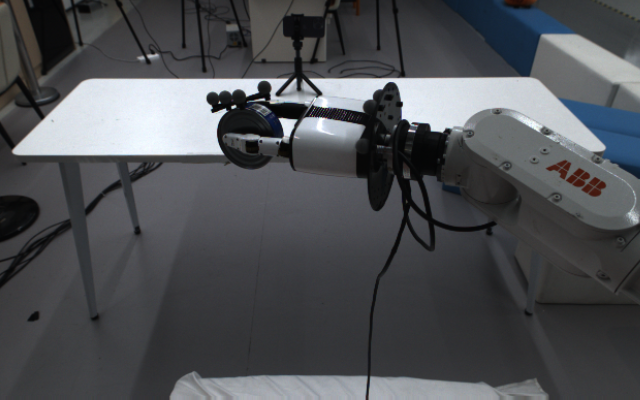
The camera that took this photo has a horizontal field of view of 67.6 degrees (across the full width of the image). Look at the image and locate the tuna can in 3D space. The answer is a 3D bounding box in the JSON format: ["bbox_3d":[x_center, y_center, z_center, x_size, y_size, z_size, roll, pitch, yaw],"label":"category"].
[{"bbox_3d":[-0.090,-0.087,0.655,0.085,0.085,0.034,13,28,15],"label":"tuna can"}]
